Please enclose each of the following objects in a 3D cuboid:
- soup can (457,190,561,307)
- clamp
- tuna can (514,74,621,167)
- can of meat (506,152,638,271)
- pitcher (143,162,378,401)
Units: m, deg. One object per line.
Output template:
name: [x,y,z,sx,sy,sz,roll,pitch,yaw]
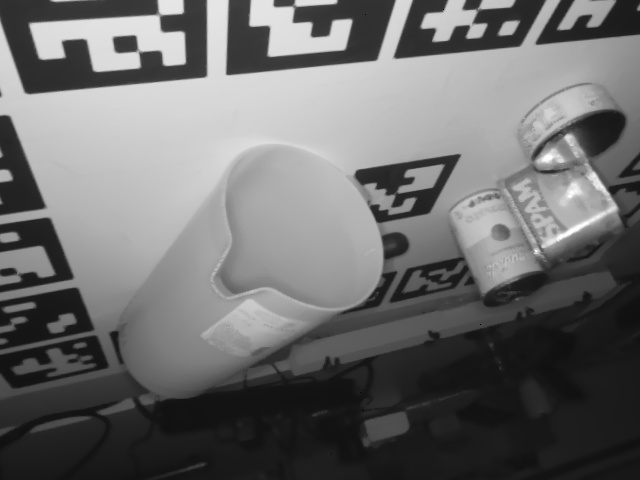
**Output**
soup can: [0.192,0.008,0.712,0.068,0.102,0.067,-15,147,-9]
clamp: [0.027,0.037,0.751,0.166,0.037,0.120,-8,151,-11]
tuna can: [0.217,-0.106,0.612,0.086,0.034,0.085,-13,146,-8]
can of meat: [0.241,-0.035,0.663,0.083,0.102,0.058,-34,144,18]
pitcher: [-0.062,0.048,0.604,0.192,0.133,0.238,-22,164,-39]
